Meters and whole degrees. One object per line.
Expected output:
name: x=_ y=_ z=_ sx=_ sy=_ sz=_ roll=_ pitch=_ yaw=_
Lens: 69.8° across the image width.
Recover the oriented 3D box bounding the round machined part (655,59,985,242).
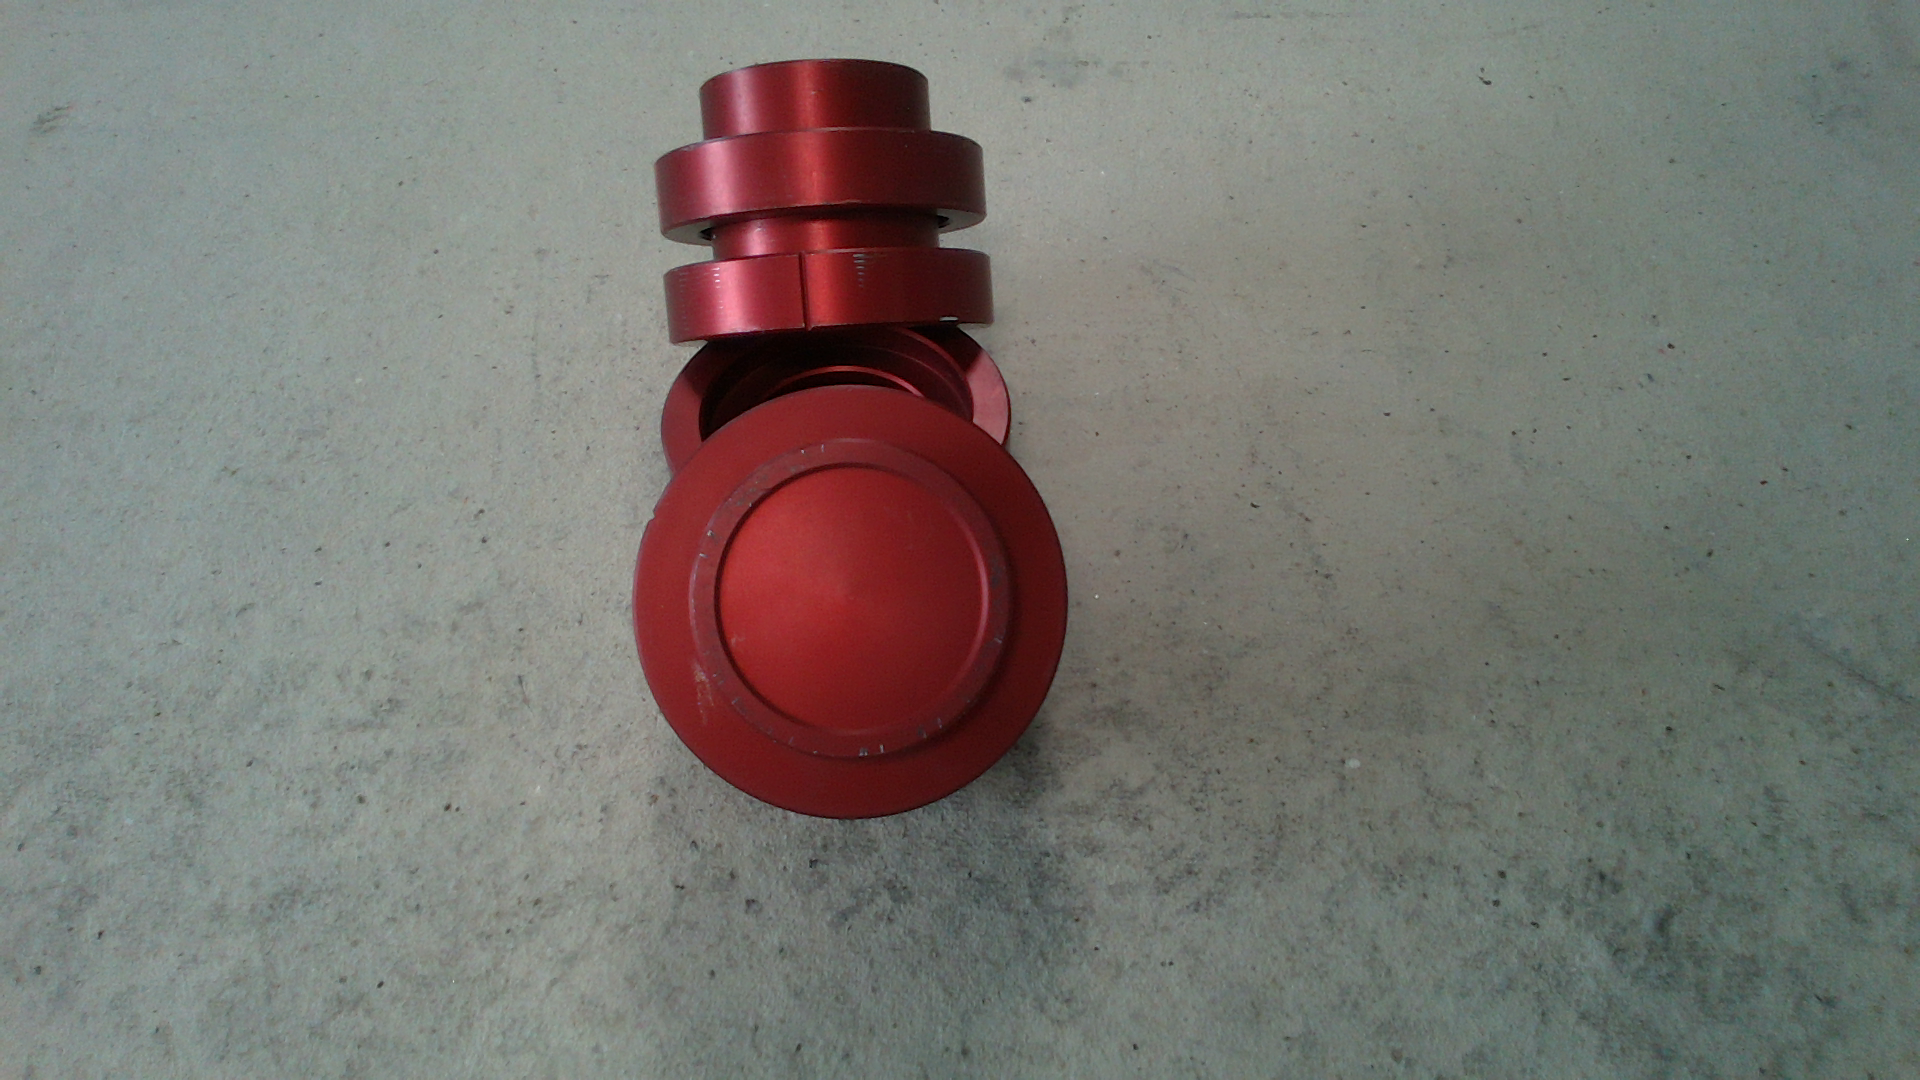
round machined part: x=-0.042 y=-0.116 z=0.415 sx=0.098 sy=0.042 sz=0.098 roll=-4 pitch=7 yaw=1

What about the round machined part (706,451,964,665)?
round machined part: x=-0.027 y=0.012 z=0.338 sx=0.098 sy=0.042 sz=0.098 roll=0 pitch=86 yaw=-4

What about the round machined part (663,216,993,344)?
round machined part: x=-0.040 y=-0.083 z=0.415 sx=0.098 sy=0.042 sz=0.098 roll=-4 pitch=7 yaw=1

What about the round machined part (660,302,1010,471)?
round machined part: x=-0.035 y=-0.023 z=0.401 sx=0.098 sy=0.042 sz=0.098 roll=0 pitch=50 yaw=0

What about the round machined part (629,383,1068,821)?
round machined part: x=-0.024 y=0.013 z=0.306 sx=0.098 sy=0.042 sz=0.098 roll=0 pitch=85 yaw=-4
